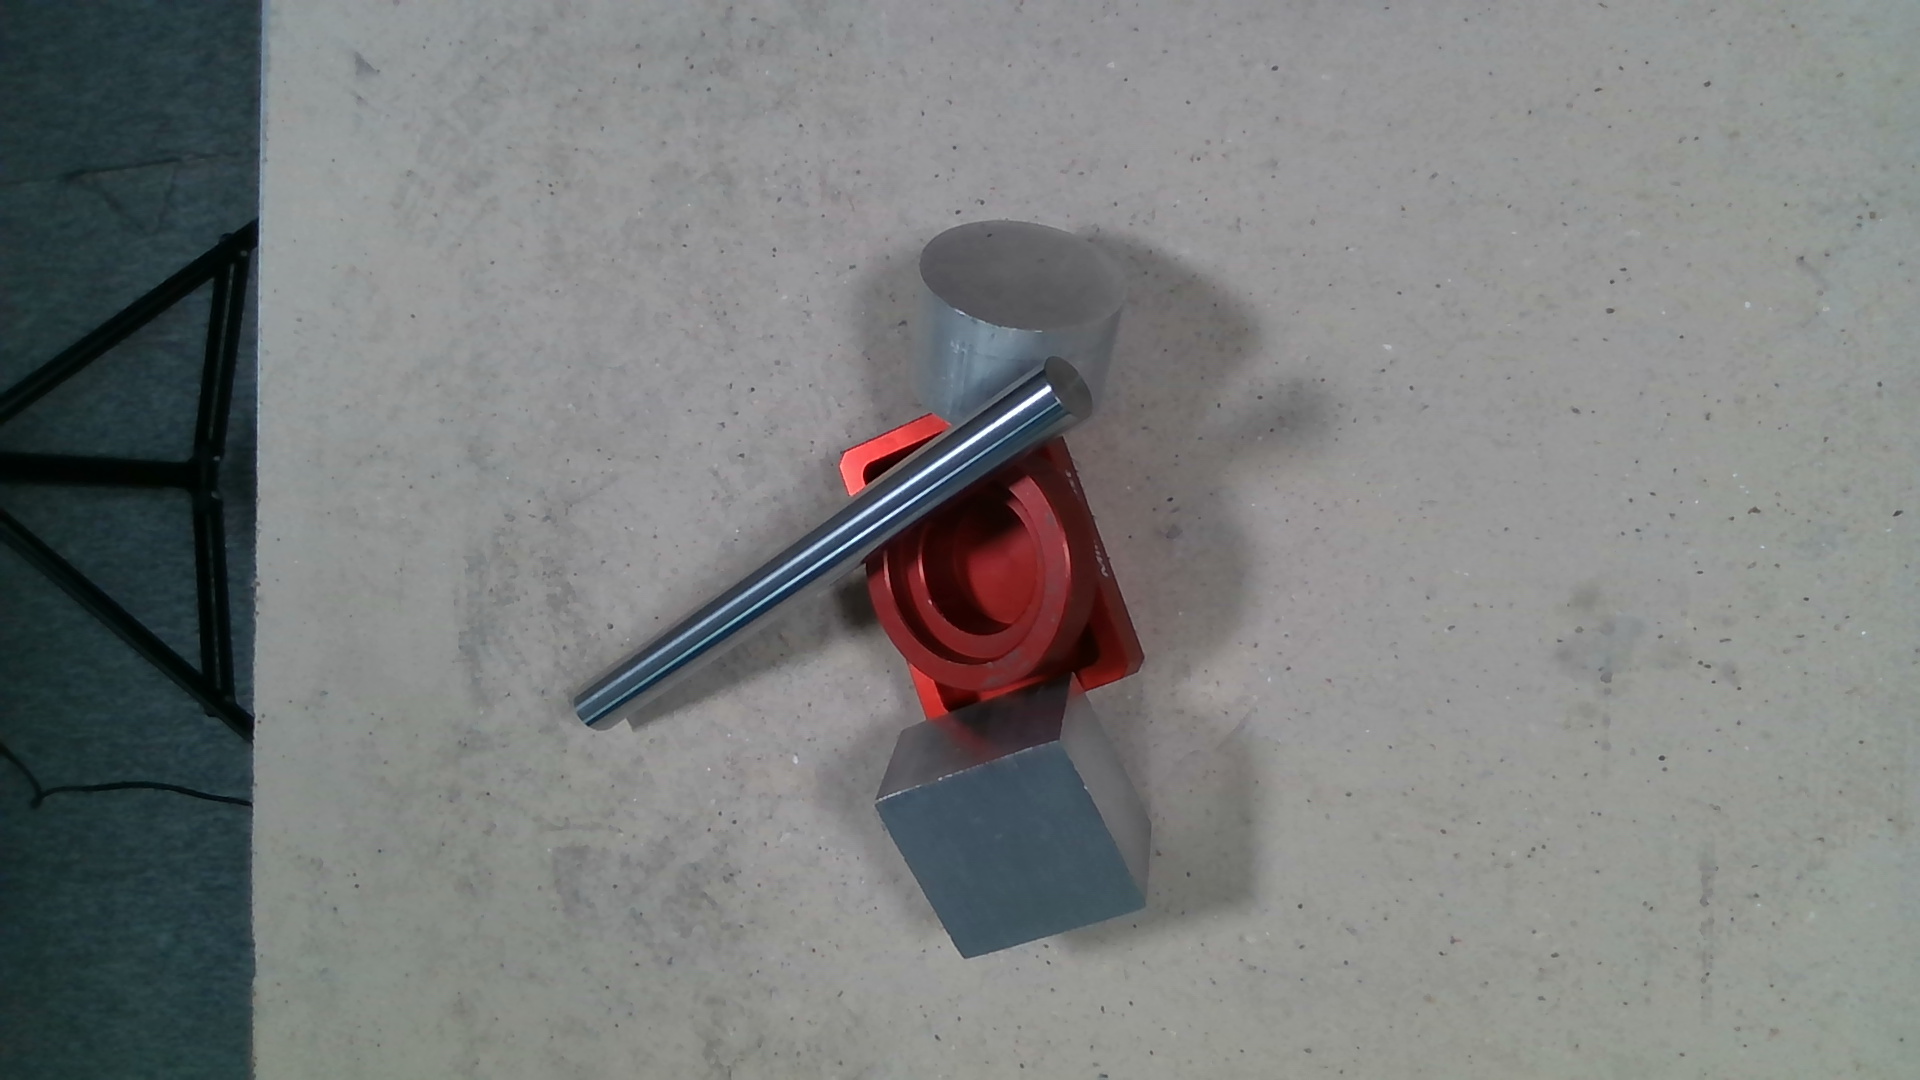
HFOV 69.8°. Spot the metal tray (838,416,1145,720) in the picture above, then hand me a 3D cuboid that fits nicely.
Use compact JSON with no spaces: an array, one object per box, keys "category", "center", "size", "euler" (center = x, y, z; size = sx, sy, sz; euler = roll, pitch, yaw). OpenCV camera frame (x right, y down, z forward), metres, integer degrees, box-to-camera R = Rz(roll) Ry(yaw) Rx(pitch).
[{"category":"metal tray","center":[0.012,0.008,0.579],"size":[0.090,0.030,0.130],"euler":[-22,83,19]}]

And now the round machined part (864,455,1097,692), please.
[{"category":"round machined part","center":[0.012,0.008,0.547],"size":[0.098,0.042,0.098],"euler":[4,97,35]}]

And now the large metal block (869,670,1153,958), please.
[{"category":"large metal block","center":[0.022,0.109,0.547],"size":[0.080,0.050,0.080],"euler":[-22,109,19]}]

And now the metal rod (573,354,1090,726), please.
[{"category":"metal rod","center":[-0.067,0.011,0.564],"size":[0.300,0.025,0.025],"euler":[-32,79,35]}]

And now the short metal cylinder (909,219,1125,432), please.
[{"category":"short metal cylinder","center":[0.021,-0.084,0.541],"size":[0.080,0.080,0.050],"euler":[25,134,18]}]
